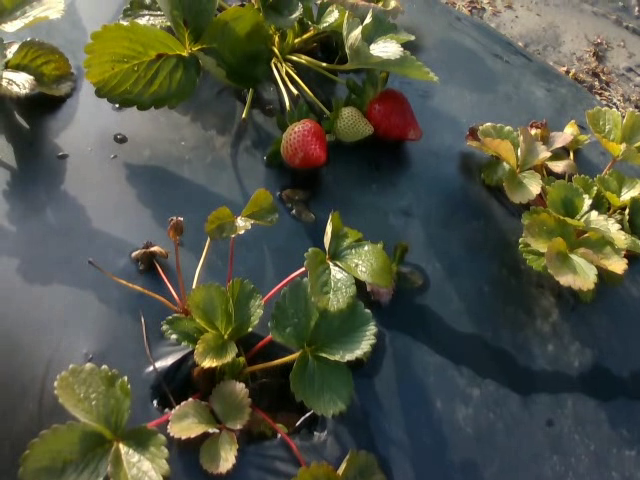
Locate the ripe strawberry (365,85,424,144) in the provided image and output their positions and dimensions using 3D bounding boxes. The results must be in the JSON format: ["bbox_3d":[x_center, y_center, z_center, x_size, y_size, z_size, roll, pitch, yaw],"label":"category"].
[{"bbox_3d":[0.071,-0.107,0.552,0.048,0.065,0.050,-43,-10,10],"label":"ripe strawberry"}]
